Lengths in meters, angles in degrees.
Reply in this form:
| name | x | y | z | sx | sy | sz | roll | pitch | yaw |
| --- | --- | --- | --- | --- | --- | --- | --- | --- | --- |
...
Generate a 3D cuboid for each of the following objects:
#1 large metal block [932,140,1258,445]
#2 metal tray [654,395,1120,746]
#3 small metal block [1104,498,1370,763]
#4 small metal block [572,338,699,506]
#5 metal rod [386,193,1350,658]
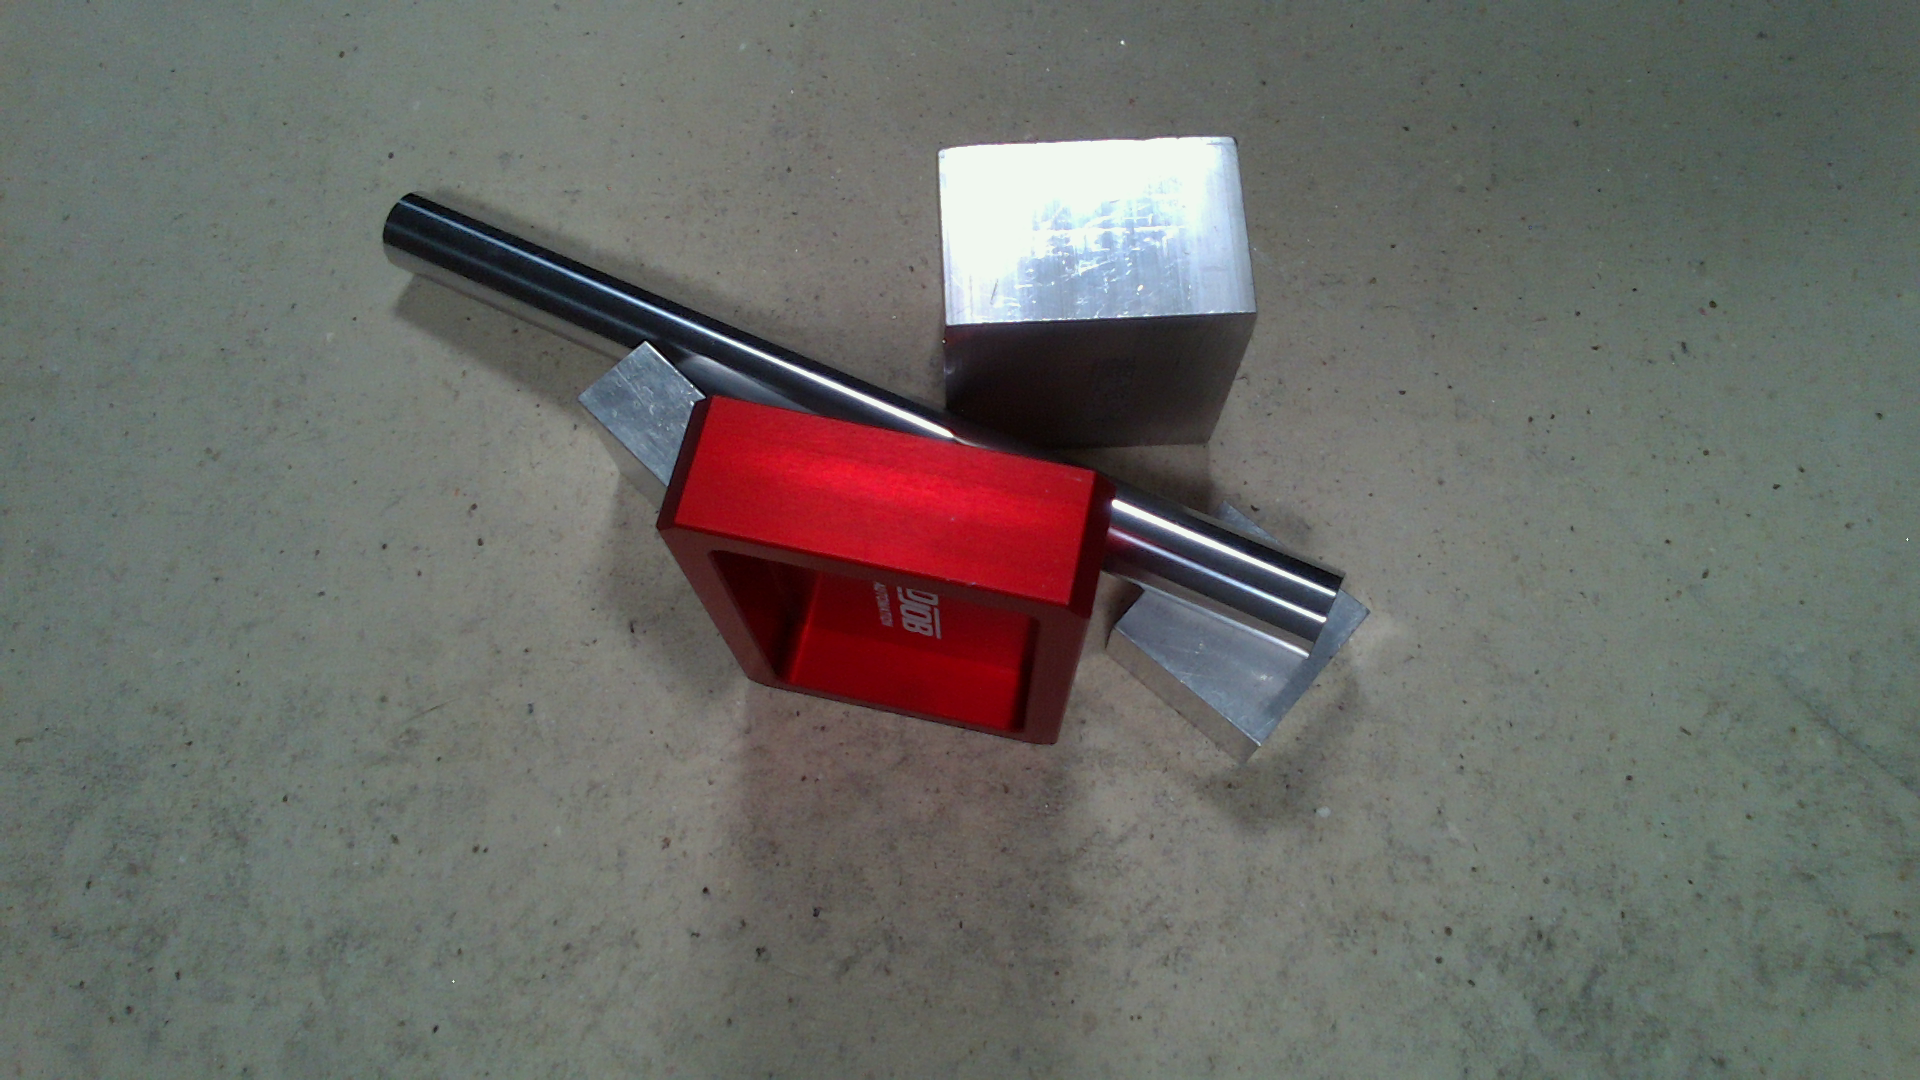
| name | x | y | z | sx | sy | sz | roll | pitch | yaw |
| --- | --- | --- | --- | --- | --- | --- | --- | --- | --- |
| large metal block | 0.034 | -0.066 | 0.388 | 0.080 | 0.080 | 0.050 | -2 | 70 | -1 |
| metal tray | -0.014 | 0.014 | 0.334 | 0.090 | 0.130 | 0.030 | 11 | 70 | 5 |
| small metal block | 0.077 | 0.026 | 0.386 | 0.050 | 0.025 | 0.050 | 40 | 75 | 13 |
| small metal block | -0.077 | -0.022 | 0.388 | 0.050 | 0.050 | 0.025 | 43 | 76 | 14 |
| metal rod | -0.037 | -0.039 | 0.394 | 0.299 | 0.025 | 0.025 | 23 | 72 | 14 |
